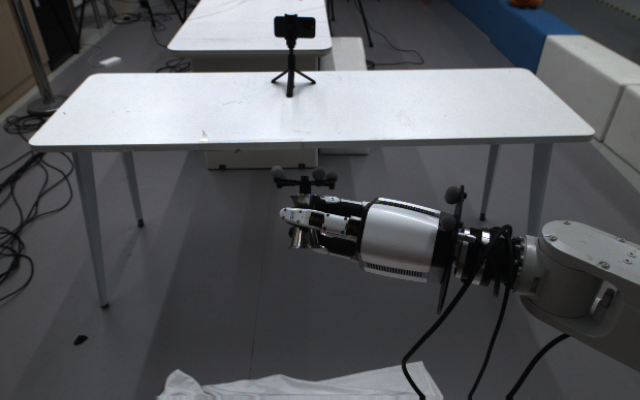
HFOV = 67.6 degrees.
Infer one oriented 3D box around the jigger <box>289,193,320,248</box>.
[{"bbox_3d":[-0.020,0.028,0.622,0.043,0.071,0.043,0,-5,0],"label":"jigger"}]
